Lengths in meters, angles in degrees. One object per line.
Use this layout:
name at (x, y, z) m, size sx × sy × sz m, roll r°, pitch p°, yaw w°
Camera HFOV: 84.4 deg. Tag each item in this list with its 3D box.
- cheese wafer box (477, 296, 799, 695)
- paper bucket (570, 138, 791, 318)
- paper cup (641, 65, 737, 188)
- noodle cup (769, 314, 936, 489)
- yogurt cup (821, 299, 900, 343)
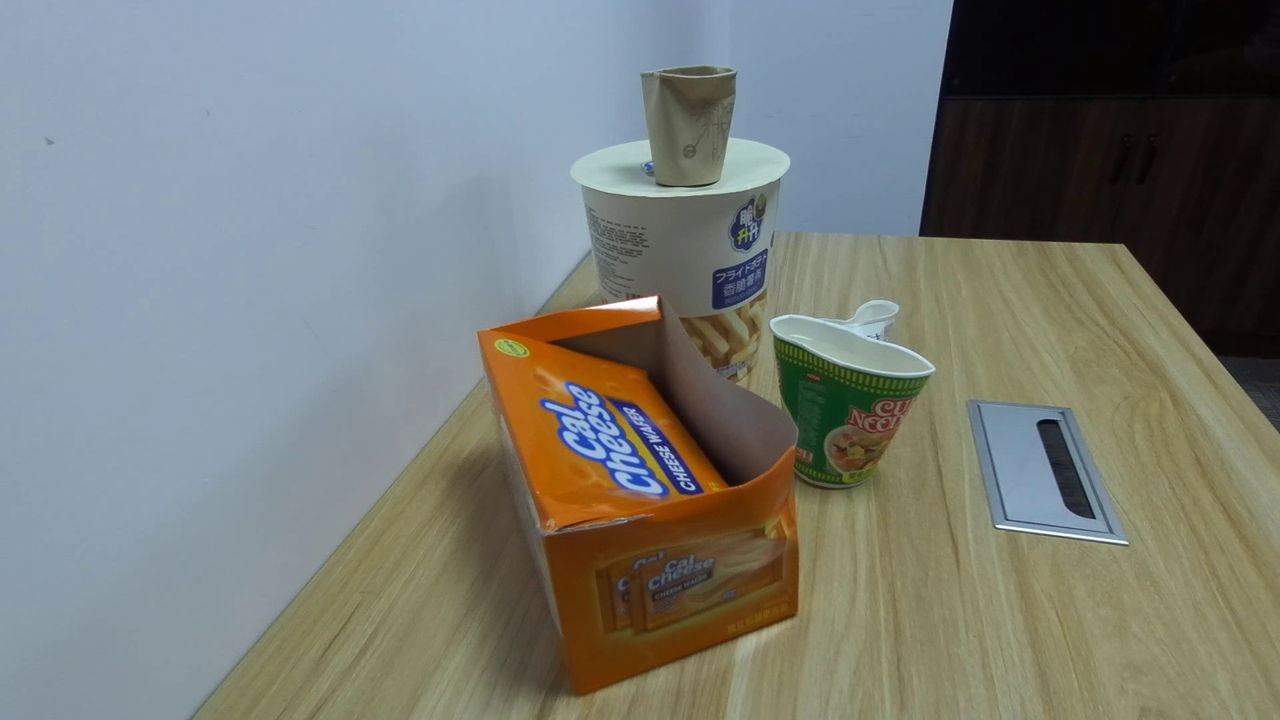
cheese wafer box at (-0.007, 0.071, 0.465) m, size 0.152 × 0.132 × 0.229 m, roll -12°, pitch 30°, yaw -17°
paper bucket at (0.038, -0.086, 0.654) m, size 0.198 × 0.195 × 0.198 m, roll -2°, pitch 31°, yaw 2°
paper cup at (0.038, -0.183, 0.551) m, size 0.066 × 0.084 × 0.071 m, roll -11°, pitch 26°, yaw -11°
noodle cup at (0.146, 0.031, 0.523) m, size 0.070 × 0.111 × 0.114 m, roll -17°, pitch 34°, yaw -18°
yogurt cup at (0.192, -0.012, 0.633) m, size 0.053 × 0.071 × 0.075 m, roll 22°, pitch 38°, yaw 32°
